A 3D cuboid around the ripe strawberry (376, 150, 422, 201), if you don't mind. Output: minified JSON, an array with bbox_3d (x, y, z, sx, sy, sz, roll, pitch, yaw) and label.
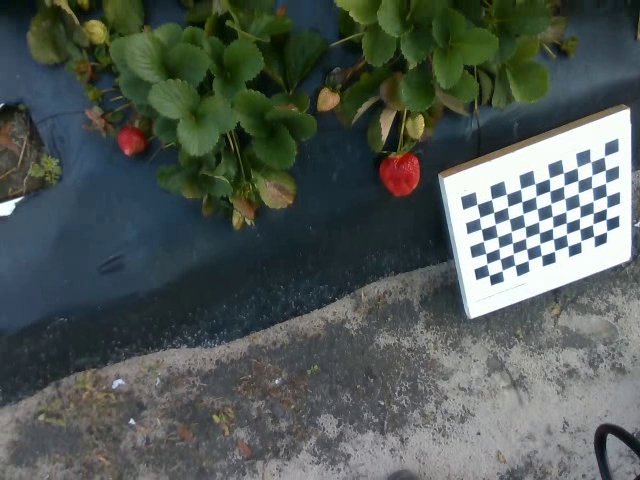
[{"bbox_3d":[0.123,-0.100,0.910,0.067,0.074,0.039,-15,30,-1],"label":"ripe strawberry"}]
